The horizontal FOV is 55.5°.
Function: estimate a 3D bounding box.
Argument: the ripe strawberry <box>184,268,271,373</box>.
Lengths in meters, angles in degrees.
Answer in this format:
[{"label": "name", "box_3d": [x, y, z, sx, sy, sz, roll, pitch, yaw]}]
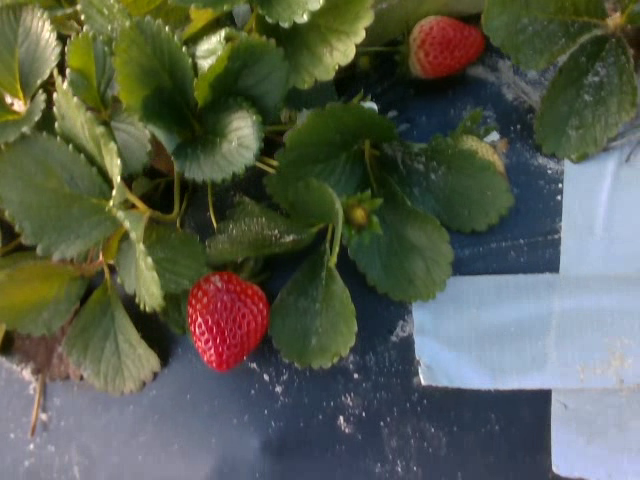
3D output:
[{"label": "ripe strawberry", "box_3d": [-0.019, 0.018, 0.123, 0.018, 0.023, 0.020, -9, -28, 26]}]
